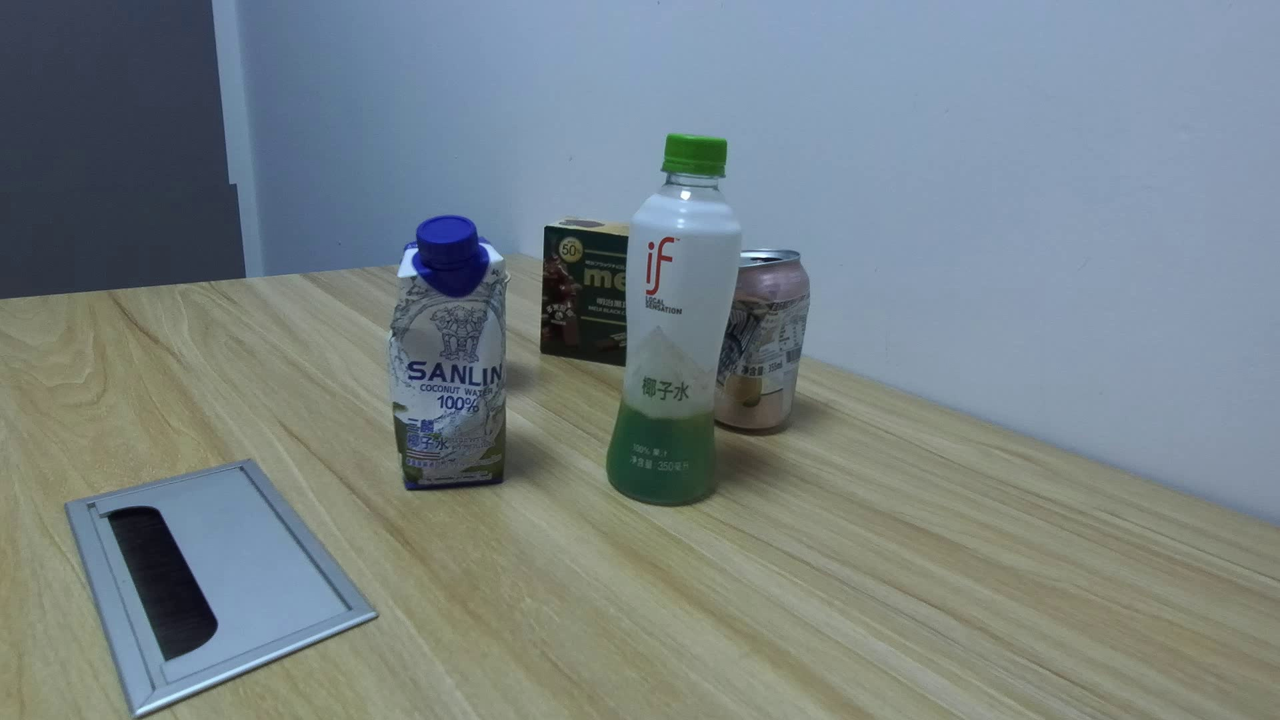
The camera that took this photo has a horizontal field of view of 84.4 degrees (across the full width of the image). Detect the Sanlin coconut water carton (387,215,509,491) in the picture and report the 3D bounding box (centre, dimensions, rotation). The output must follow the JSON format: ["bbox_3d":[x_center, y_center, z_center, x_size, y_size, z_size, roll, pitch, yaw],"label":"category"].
[{"bbox_3d":[-0.103,-0.006,0.376,0.061,0.143,0.069,-3,23,-18],"label":"Sanlin coconut water carton"}]

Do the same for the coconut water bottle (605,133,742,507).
[{"bbox_3d":[0.020,-0.019,0.376,0.063,0.188,0.063,5,19,-1],"label":"coconut water bottle"}]

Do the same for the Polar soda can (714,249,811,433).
[{"bbox_3d":[0.073,-0.013,0.480,0.070,0.122,0.067,16,28,29],"label":"Polar soda can"}]
